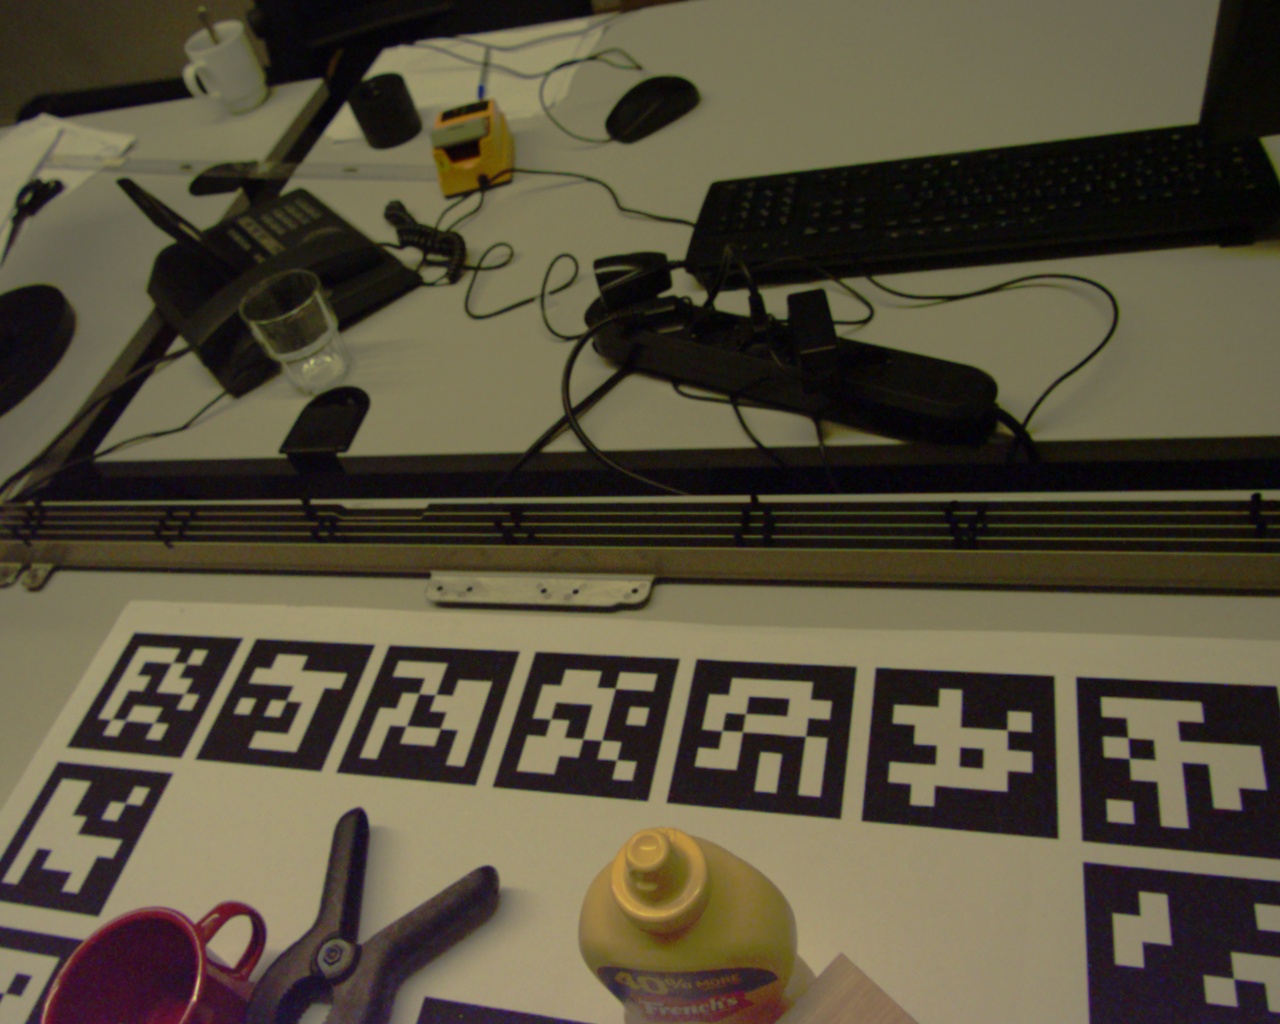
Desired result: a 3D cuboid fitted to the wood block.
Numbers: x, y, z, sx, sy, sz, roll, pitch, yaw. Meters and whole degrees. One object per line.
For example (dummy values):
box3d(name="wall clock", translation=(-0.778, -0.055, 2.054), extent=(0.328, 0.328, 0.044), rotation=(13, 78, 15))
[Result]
box3d(name="wood block", translation=(0.047, 0.304, 0.503), extent=(0.205, 0.090, 0.091), rotation=(-38, 46, -19))

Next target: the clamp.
box3d(name="clamp", translation=(-0.170, 0.246, 0.670), extent=(0.123, 0.036, 0.164), rotation=(17, 58, 29))

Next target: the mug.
box3d(name="mug", translation=(-0.258, 0.273, 0.669), extent=(0.094, 0.081, 0.116), rotation=(19, 59, 32))

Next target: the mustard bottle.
box3d(name="mustard bottle", translation=(0.015, 0.189, 0.542), extent=(0.097, 0.190, 0.058), rotation=(-4, 48, 16))
